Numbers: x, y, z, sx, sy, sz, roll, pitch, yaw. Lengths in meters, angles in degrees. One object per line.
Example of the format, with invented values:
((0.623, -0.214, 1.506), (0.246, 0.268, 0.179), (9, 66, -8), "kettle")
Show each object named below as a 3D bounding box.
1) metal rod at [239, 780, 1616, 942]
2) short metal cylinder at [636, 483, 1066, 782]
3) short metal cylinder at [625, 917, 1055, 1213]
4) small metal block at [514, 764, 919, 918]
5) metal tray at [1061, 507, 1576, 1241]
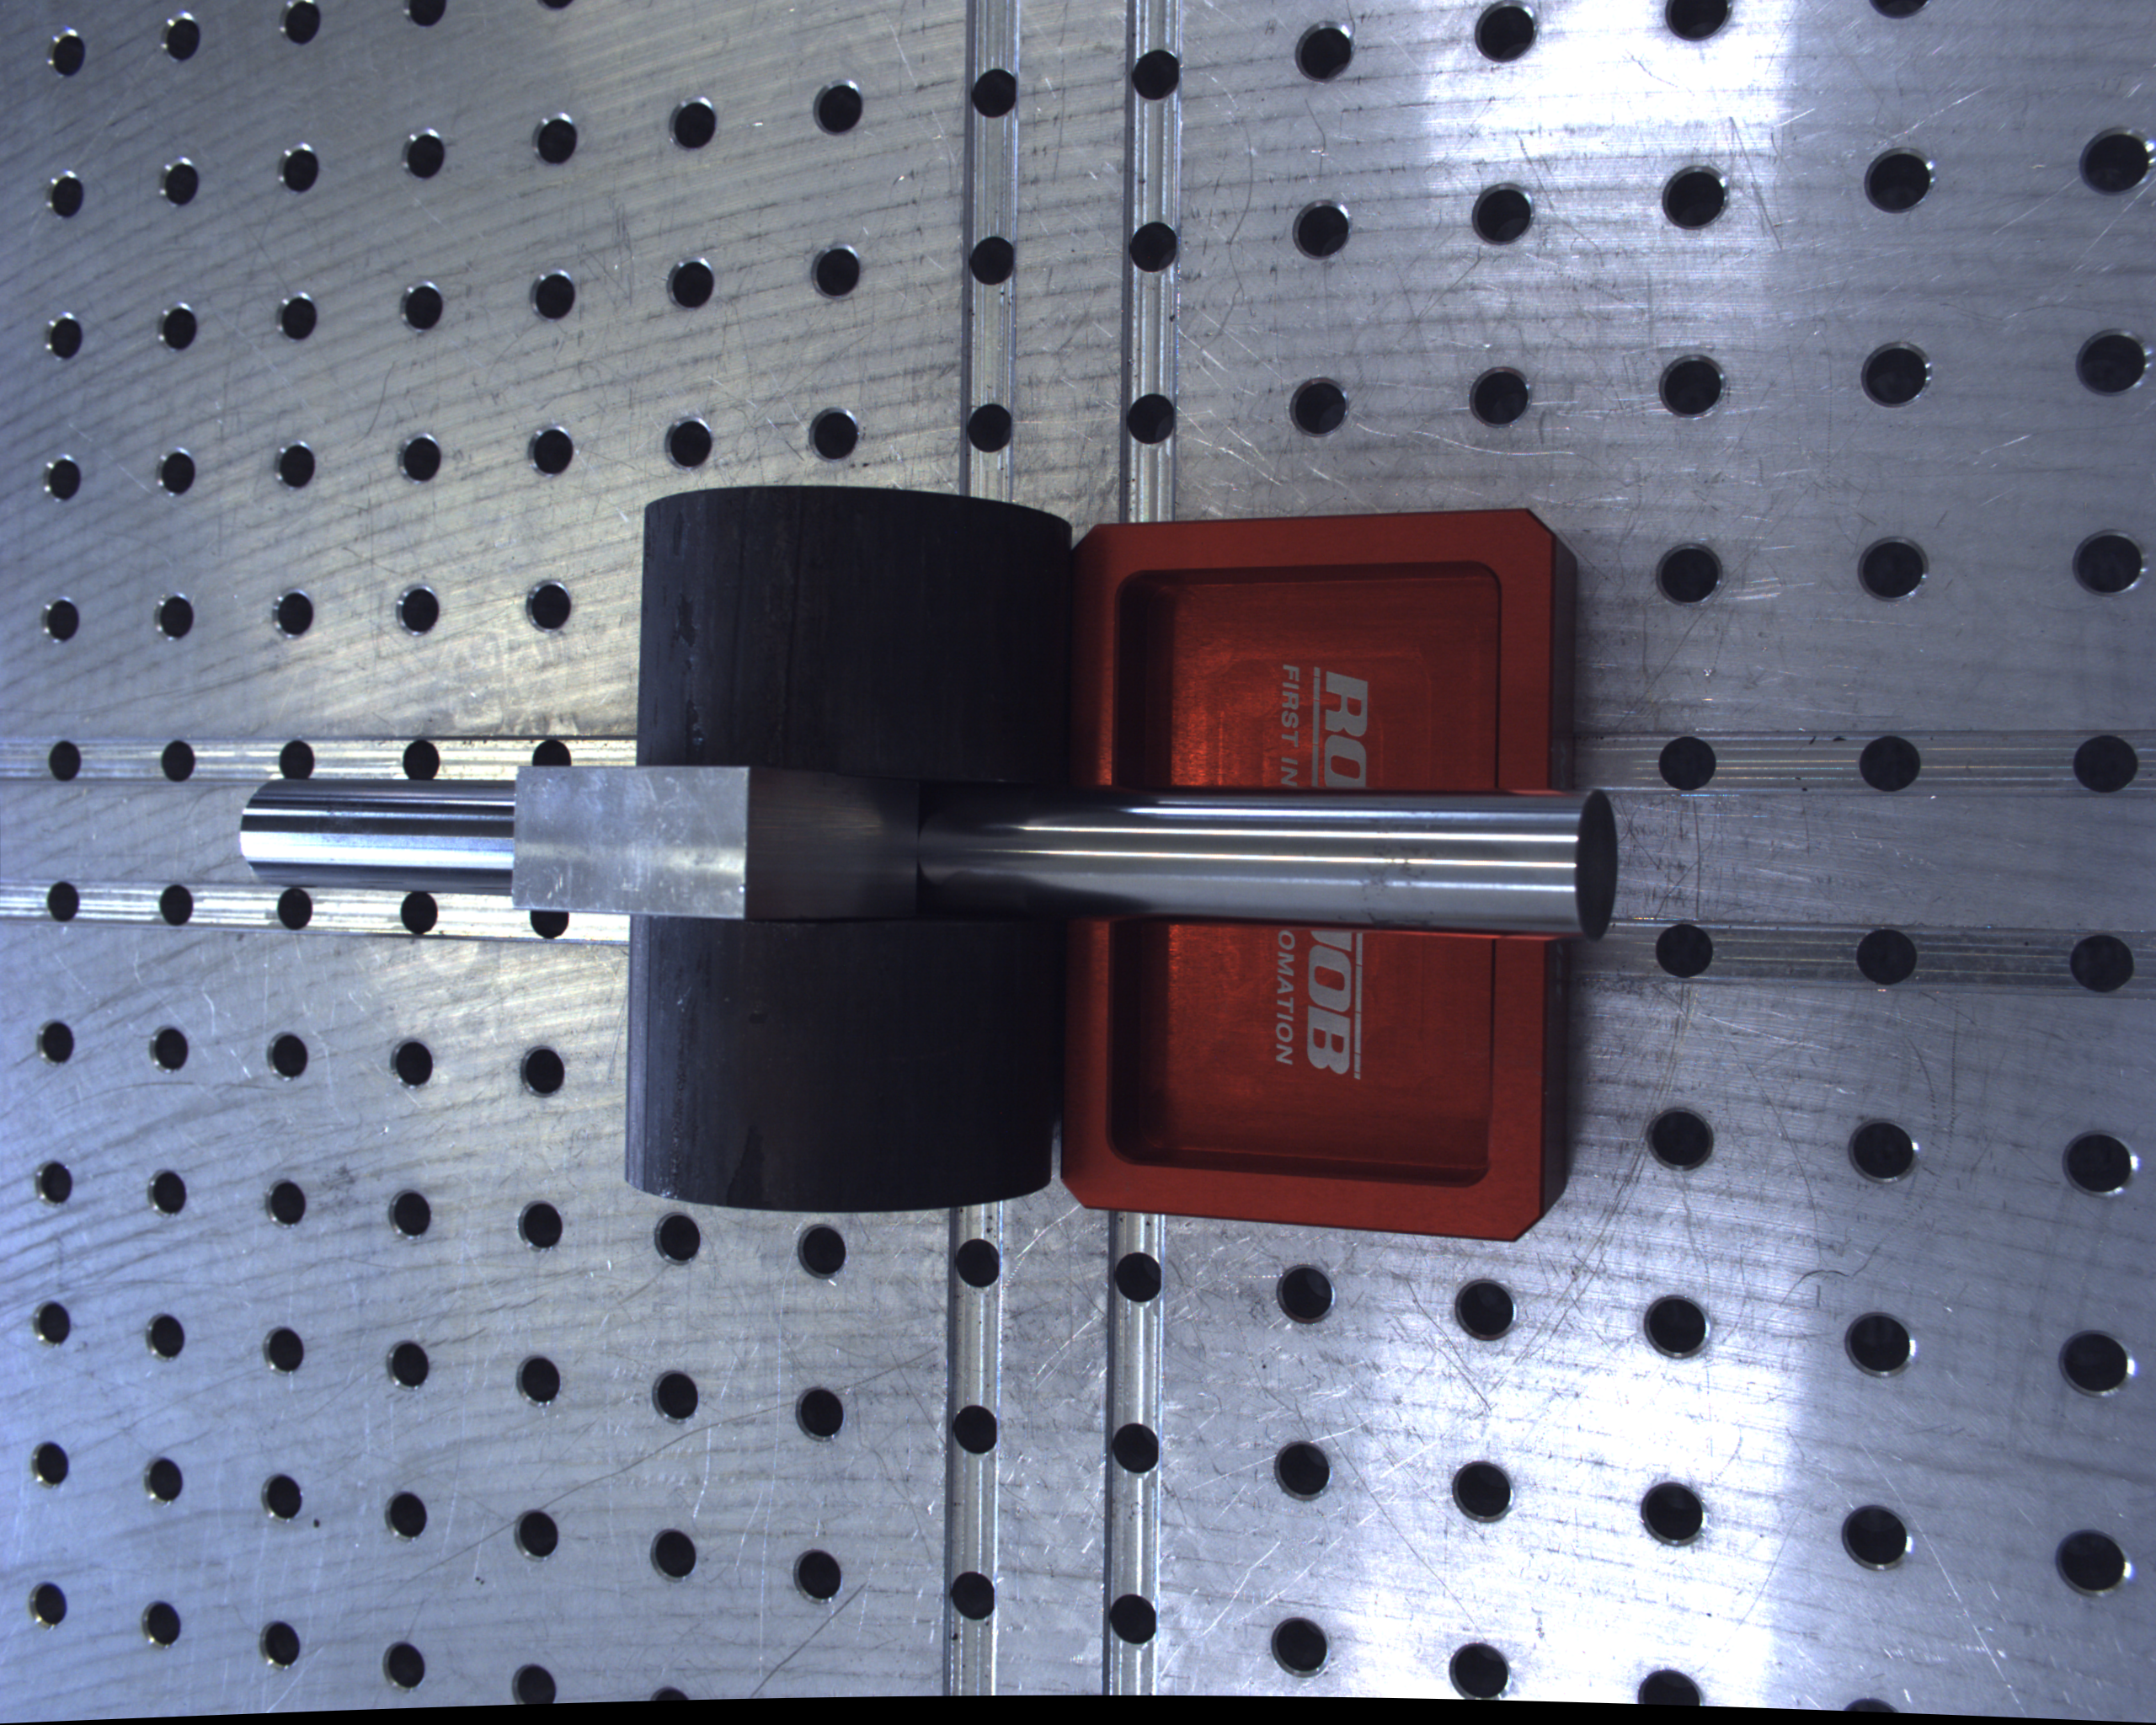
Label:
((-0.049, -0.003, 0.405), (0.300, 0.025, 0.025), (1, 91, 28), "metal rod")
((-0.043, -0.040, 0.397), (0.080, 0.080, 0.050), (1, 91, 20), "short metal cylinder")
((-0.045, 0.035, 0.399), (0.080, 0.080, 0.050), (2, 91, 20), "short metal cylinder")
((-0.063, -0.004, 0.371), (0.050, 0.050, 0.025), (1, 91, 28), "small metal block")
((0.045, 0.001, 0.394), (0.090, 0.030, 0.129), (1, 90, 19), "metal tray")
